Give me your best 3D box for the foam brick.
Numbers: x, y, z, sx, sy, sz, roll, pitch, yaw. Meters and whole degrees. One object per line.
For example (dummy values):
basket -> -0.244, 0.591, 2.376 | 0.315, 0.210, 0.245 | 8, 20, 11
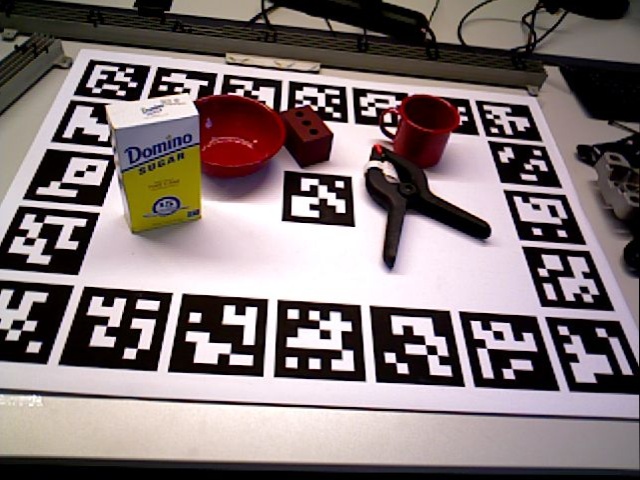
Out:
foam brick -> -0.027, -0.150, 0.805 | 0.052, 0.052, 0.077 | -19, 59, -22

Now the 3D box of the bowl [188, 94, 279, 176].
bowl -> -0.141, -0.142, 0.771 | 0.160, 0.056, 0.159 | 5, 52, -7

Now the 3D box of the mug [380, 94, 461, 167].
mug -> 0.142, -0.171, 0.820 | 0.117, 0.083, 0.091 | 26, 52, 7

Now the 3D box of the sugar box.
sugar box -> -0.201, -0.082, 0.636 | 0.091, 0.181, 0.045 | -16, 58, -23

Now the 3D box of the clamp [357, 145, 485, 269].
clamp -> 0.110, -0.062, 0.755 | 0.163, 0.037, 0.201 | -17, 58, -18
